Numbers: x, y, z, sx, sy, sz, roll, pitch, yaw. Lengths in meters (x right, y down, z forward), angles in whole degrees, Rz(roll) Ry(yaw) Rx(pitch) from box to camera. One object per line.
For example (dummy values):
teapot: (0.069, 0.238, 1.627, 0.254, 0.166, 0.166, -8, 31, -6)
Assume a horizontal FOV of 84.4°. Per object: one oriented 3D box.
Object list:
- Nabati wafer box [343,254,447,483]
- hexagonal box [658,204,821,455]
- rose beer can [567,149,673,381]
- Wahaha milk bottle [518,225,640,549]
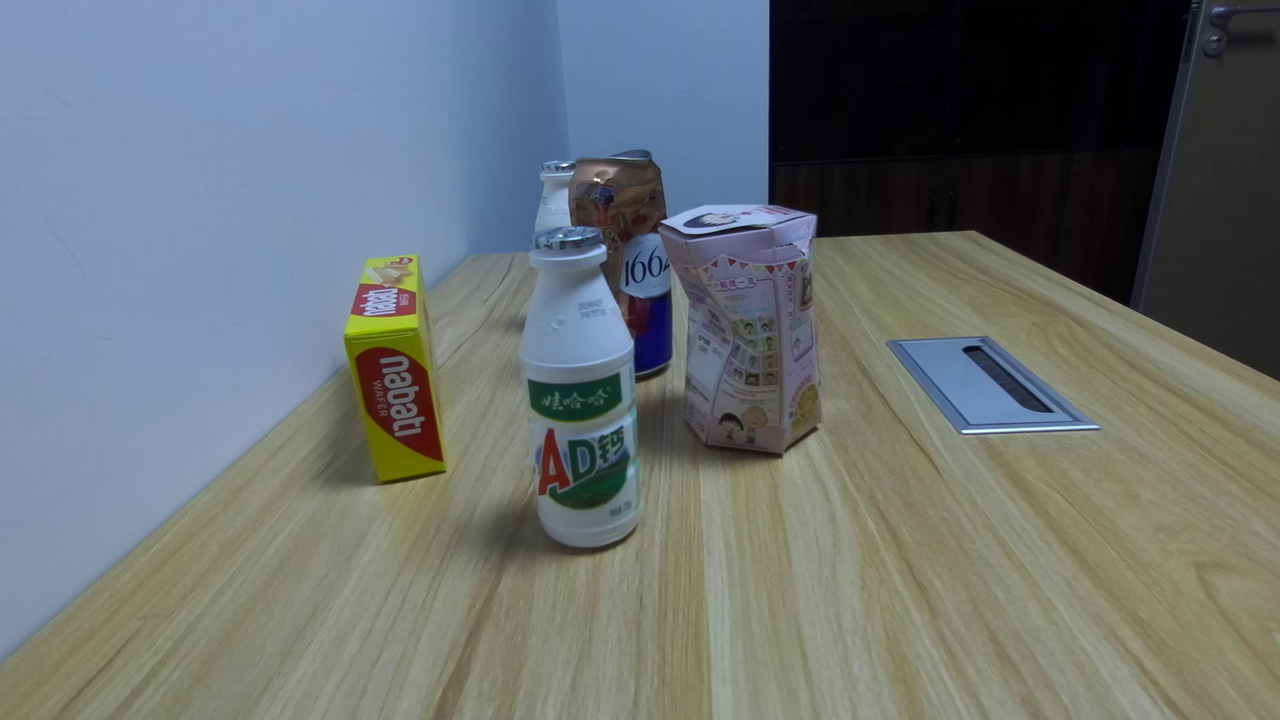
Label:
Nabati wafer box: (-0.162, -0.007, 0.483, 0.042, 0.093, 0.202, -9, 22, -14)
hexagonal box: (0.060, -0.019, 0.420, 0.090, 0.134, 0.091, 4, 22, 24)
rose beer can: (-0.011, -0.067, 0.515, 0.068, 0.162, 0.073, -2, 19, 6)
Wahaha milk bottle: (-0.028, 0.015, 0.332, 0.053, 0.147, 0.053, -3, 18, 1)
